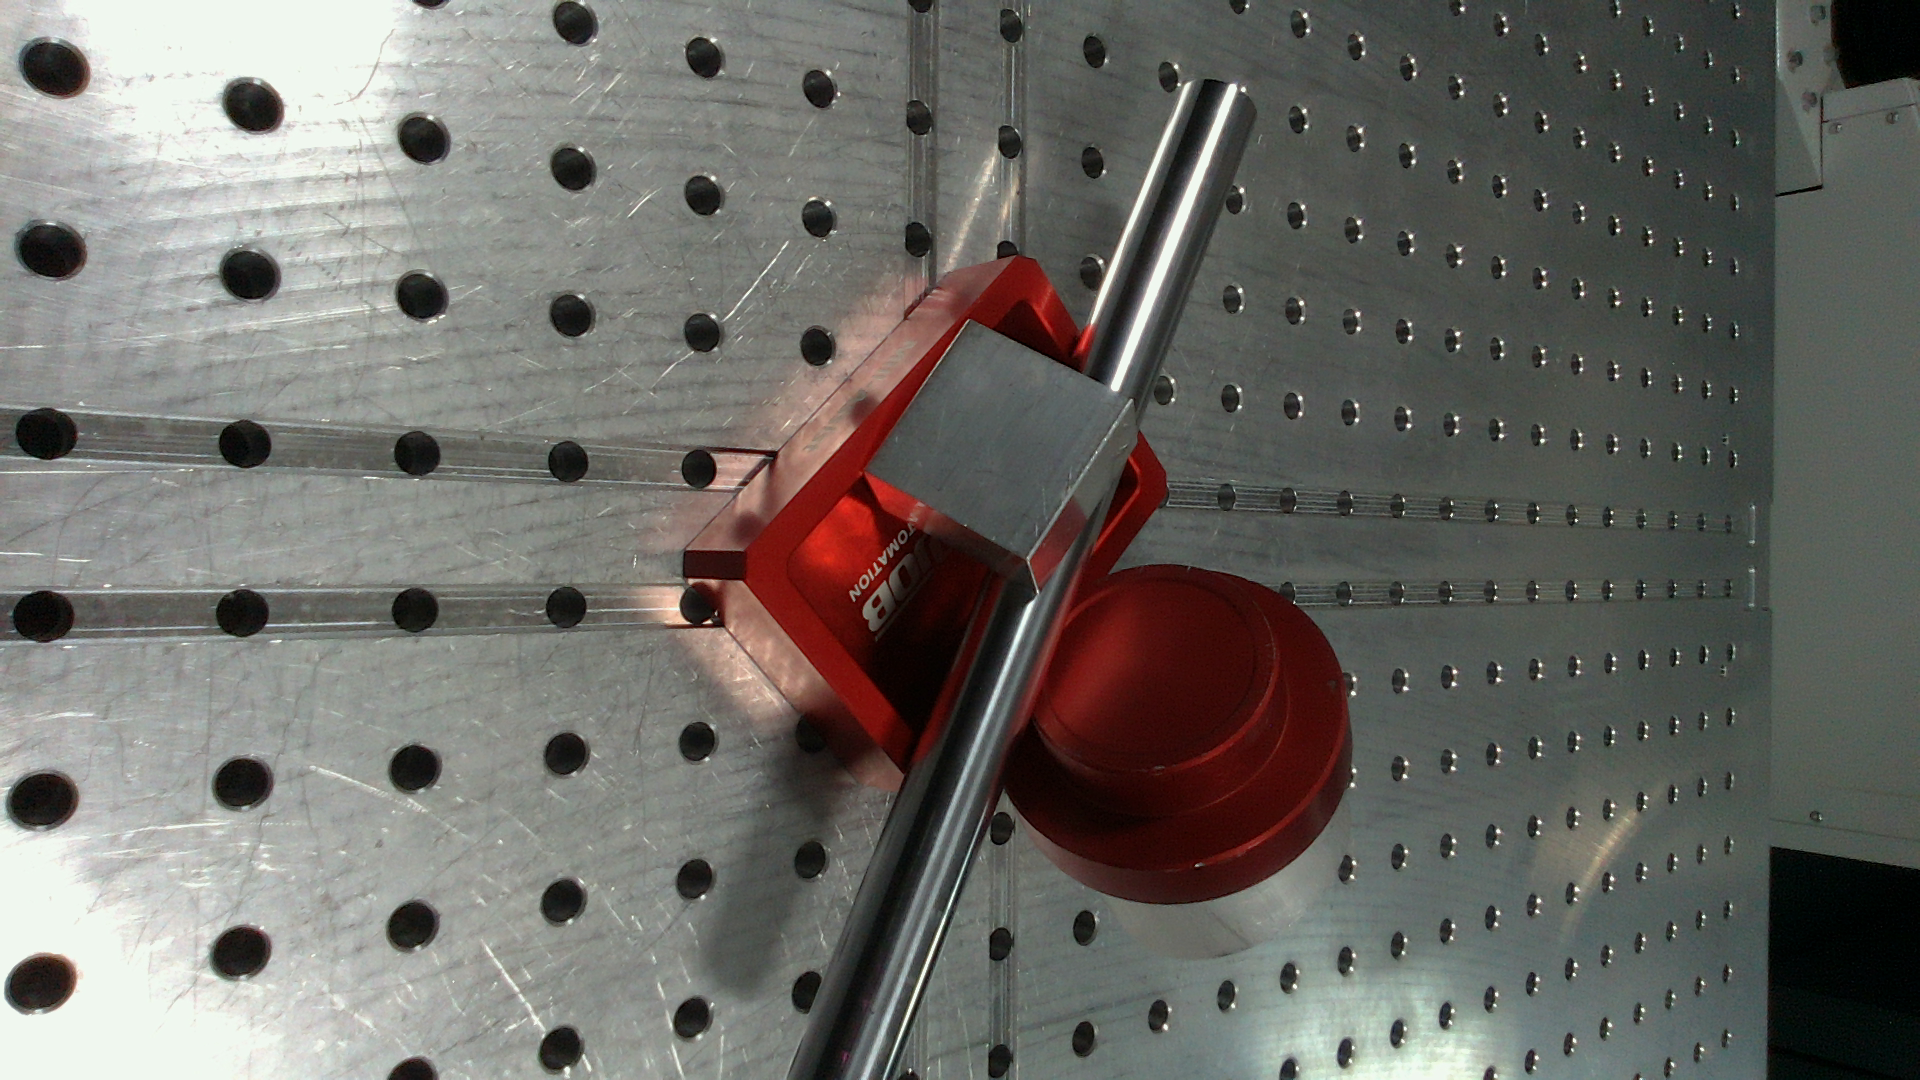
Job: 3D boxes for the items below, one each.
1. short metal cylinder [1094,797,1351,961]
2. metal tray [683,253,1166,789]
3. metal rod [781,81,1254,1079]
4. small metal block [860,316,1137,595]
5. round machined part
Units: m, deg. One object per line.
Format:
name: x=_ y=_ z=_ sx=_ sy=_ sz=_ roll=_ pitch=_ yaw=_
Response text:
short metal cylinder: x=0.069 y=0.077 z=0.412 sx=0.080 sy=0.080 sz=0.050 roll=-51 pitch=120 yaw=-28
metal tray: x=-0.003 y=-0.006 z=0.385 sx=0.130 sy=0.030 sz=0.090 roll=-51 pitch=120 yaw=-28
metal rod: x=0.023 y=0.002 z=0.371 sx=0.025 sy=0.025 sz=0.300 roll=35 pitch=69 yaw=-34
small metal block: x=0.011 y=-0.022 z=0.356 sx=0.050 sy=0.050 sz=0.025 roll=-56 pitch=161 yaw=-14
round machined part: x=0.056 y=0.045 z=0.378 sx=0.098 sy=0.098 sz=0.042 roll=-54 pitch=143 yaw=-26
